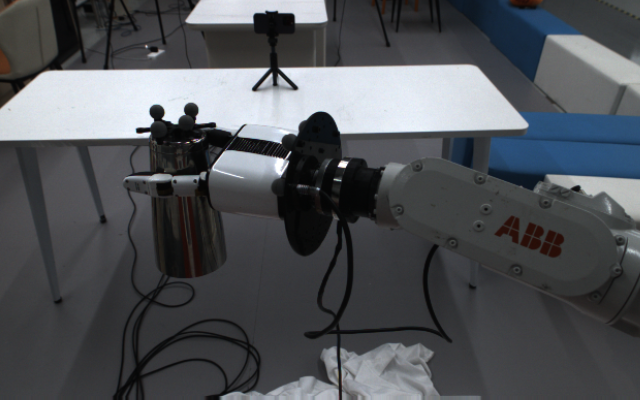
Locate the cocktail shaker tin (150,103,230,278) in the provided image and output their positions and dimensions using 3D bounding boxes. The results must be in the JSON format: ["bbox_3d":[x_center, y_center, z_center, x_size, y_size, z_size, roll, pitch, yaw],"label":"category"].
[{"bbox_3d":[-0.165,-0.002,0.601,0.093,0.170,0.093,1,27,-1],"label":"cocktail shaker tin"}]
